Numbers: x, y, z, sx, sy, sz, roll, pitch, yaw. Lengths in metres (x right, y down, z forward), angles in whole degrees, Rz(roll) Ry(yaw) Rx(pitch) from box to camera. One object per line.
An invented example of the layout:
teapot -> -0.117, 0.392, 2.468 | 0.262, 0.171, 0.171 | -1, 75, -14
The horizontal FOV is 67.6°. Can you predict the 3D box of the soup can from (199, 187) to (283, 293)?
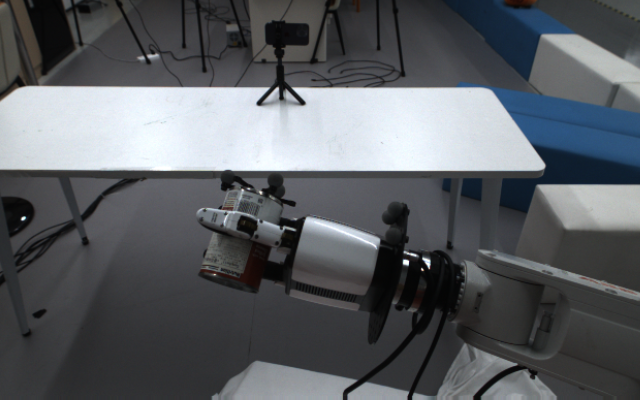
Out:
soup can -> -0.083, 0.045, 0.534 | 0.067, 0.067, 0.101 | 11, 72, 13
